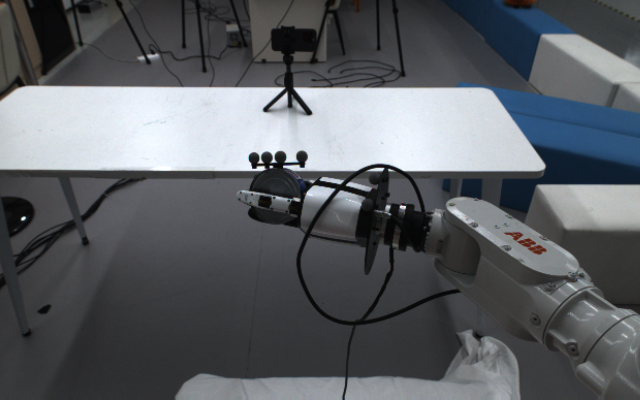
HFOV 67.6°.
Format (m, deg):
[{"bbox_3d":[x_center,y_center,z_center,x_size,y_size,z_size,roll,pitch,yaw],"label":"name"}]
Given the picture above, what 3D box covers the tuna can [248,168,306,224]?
[{"bbox_3d":[-0.063,-0.006,0.741,0.085,0.085,0.034,15,9,18],"label":"tuna can"}]
